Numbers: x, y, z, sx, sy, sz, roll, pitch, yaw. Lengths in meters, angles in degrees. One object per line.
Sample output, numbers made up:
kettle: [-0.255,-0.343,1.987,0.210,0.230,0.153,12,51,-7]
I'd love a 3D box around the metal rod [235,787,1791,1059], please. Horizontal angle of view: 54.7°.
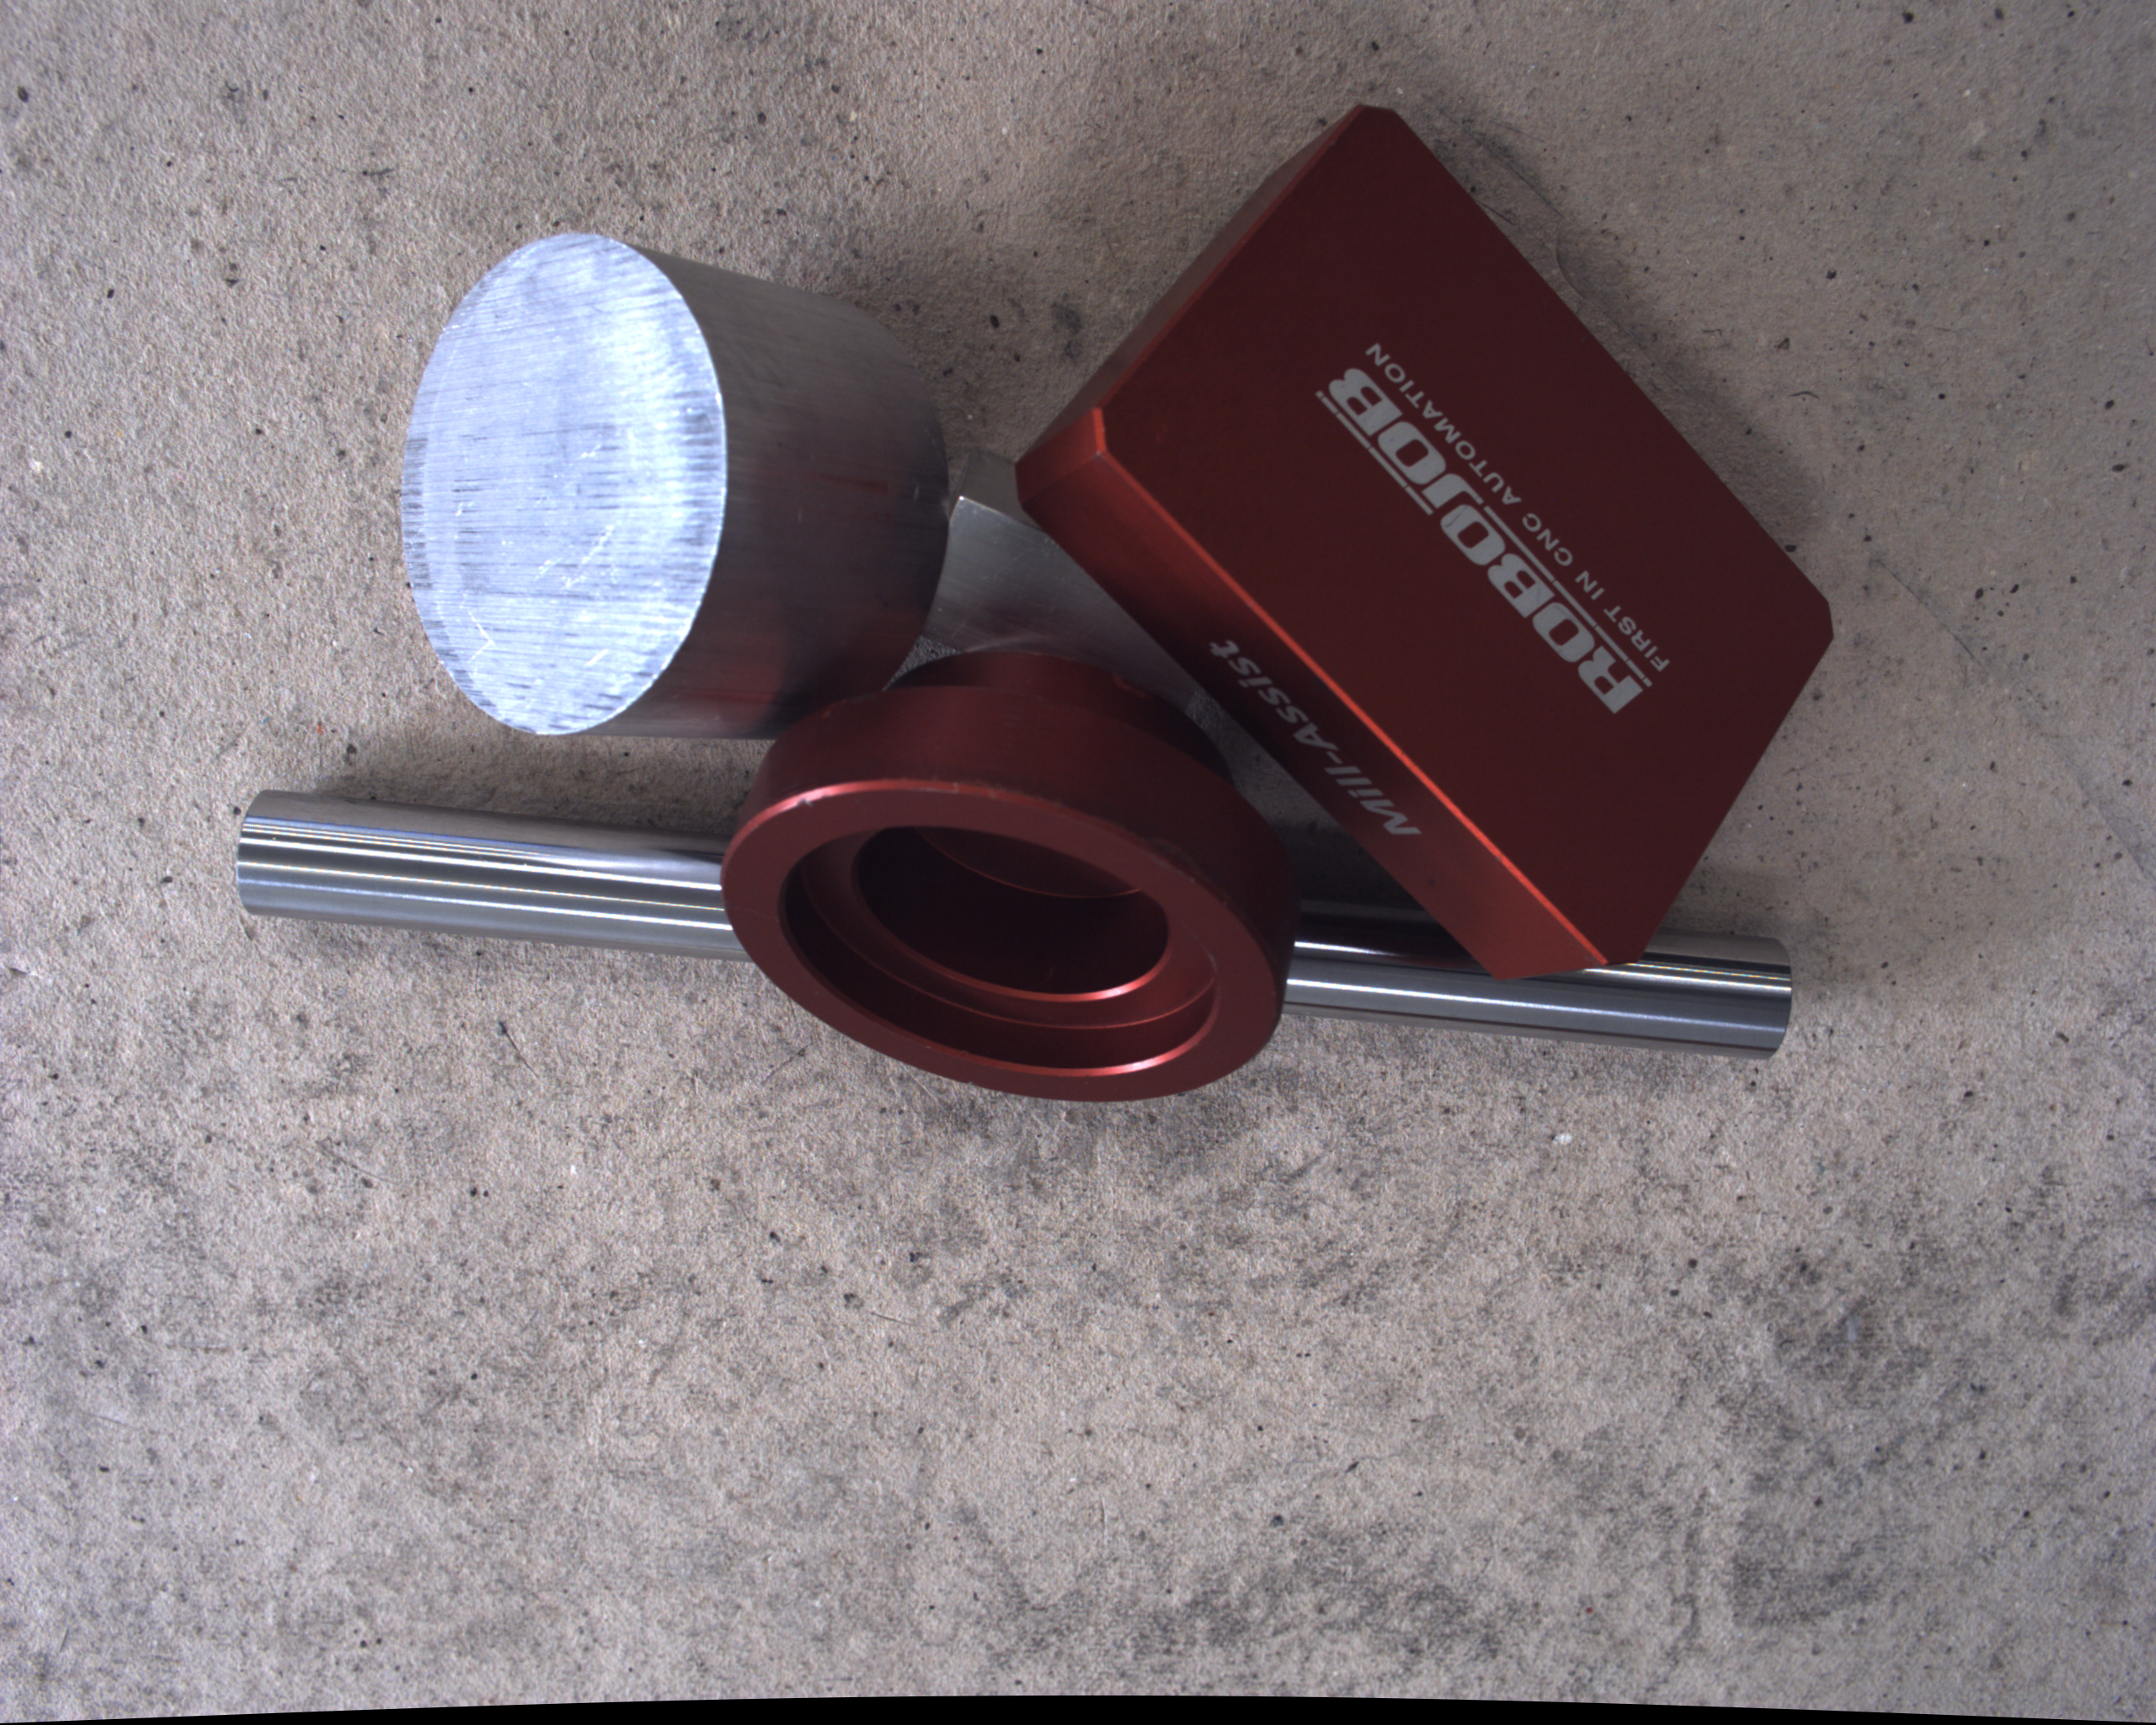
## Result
metal rod: [-0.010,0.013,0.416,0.302,0.025,0.025,6,110,-3]

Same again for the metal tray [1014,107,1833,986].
metal tray: [0.064,-0.052,0.362,0.130,0.030,0.090,43,66,-15]

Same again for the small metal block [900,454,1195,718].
small metal block: [-0.002,-0.049,0.378,0.050,0.050,0.025,22,109,-8]

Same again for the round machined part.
round machined part: [-0.010,0.000,0.369,0.098,0.042,0.098,10,146,7]

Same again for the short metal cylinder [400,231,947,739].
short metal cylinder: [-0.069,-0.061,0.353,0.080,0.050,0.079,1,92,37]
